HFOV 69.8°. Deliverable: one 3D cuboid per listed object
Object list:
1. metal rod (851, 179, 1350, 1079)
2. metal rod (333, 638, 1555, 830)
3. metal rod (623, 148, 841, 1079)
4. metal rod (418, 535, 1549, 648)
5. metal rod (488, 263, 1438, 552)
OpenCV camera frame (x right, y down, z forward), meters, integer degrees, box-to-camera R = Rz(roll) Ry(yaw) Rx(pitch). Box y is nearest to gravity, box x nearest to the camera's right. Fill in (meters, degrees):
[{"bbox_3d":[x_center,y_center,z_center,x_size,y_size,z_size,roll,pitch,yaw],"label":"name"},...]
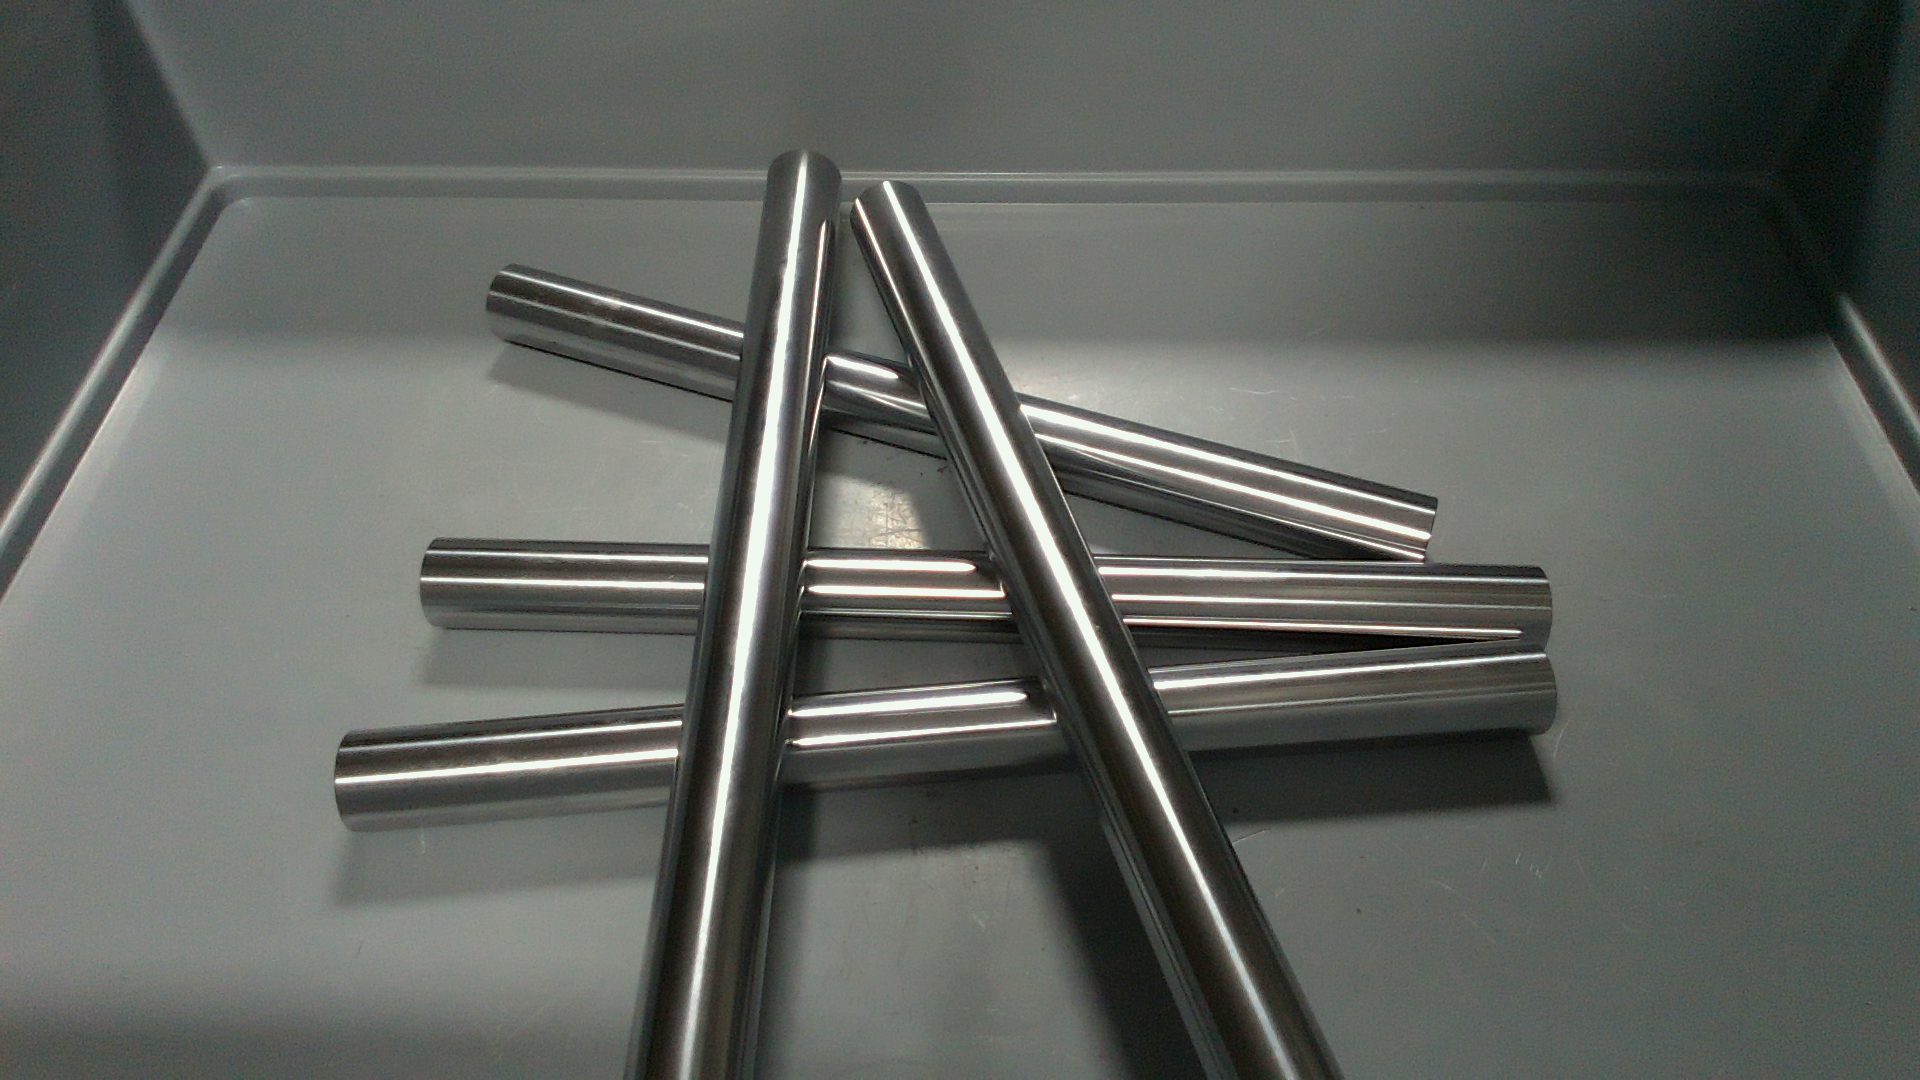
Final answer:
[{"bbox_3d":[0.021,0.003,0.355,0.025,0.025,0.300,-14,51,-11],"label":"metal rod"},{"bbox_3d":[-0.001,0.049,0.349,0.300,0.025,0.025,-4,50,-3],"label":"metal rod"},{"bbox_3d":[-0.052,-0.005,0.361,0.025,0.025,0.300,0,50,0],"label":"metal rod"},{"bbox_3d":[0.005,0.015,0.377,0.300,0.025,0.025,1,50,1],"label":"metal rod"},{"bbox_3d":[-0.008,-0.040,0.423,0.299,0.025,0.025,16,52,13],"label":"metal rod"}]
